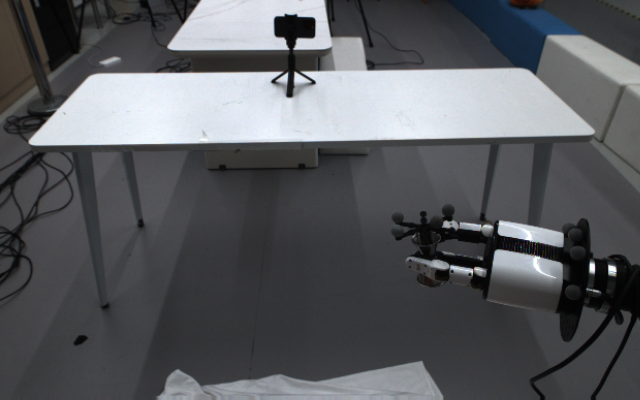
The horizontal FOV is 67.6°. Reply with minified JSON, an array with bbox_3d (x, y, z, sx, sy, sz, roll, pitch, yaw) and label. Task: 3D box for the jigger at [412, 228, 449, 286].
[{"bbox_3d":[0.154,0.082,0.682,0.043,0.071,0.043,-12,24,5],"label":"jigger"}]
